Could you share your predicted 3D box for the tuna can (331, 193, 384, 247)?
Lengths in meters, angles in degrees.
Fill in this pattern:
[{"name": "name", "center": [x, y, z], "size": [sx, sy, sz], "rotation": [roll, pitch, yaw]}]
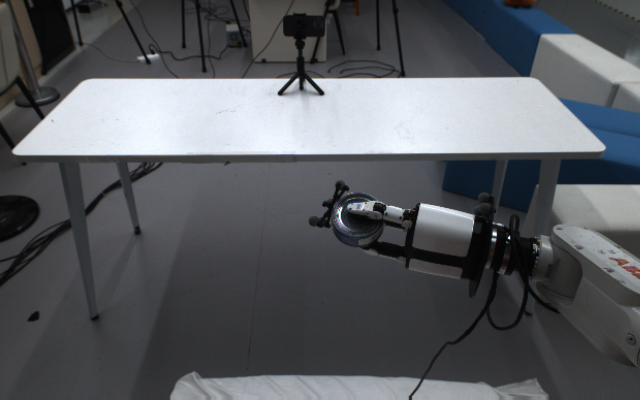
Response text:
[{"name": "tuna can", "center": [0.062, 0.030, 0.779], "size": [0.085, 0.034, 0.085], "rotation": [0, 62, 1]}]
